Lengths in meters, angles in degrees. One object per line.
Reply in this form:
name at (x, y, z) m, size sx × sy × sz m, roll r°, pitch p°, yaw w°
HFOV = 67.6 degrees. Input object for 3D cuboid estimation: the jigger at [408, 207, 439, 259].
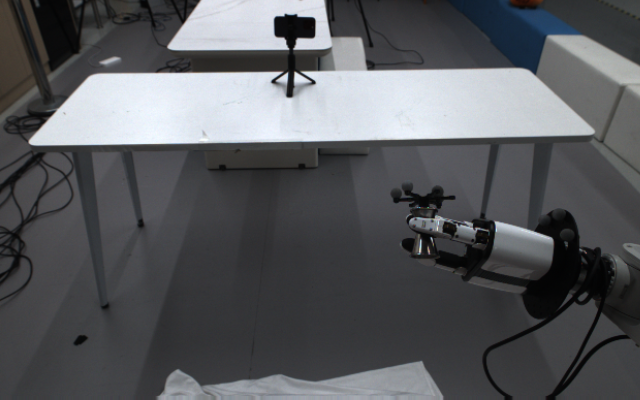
jigger at (0.148, 0.046, 0.691) m, size 0.043 × 0.043 × 0.071 m, roll 3°, pitch 76°, yaw 1°
